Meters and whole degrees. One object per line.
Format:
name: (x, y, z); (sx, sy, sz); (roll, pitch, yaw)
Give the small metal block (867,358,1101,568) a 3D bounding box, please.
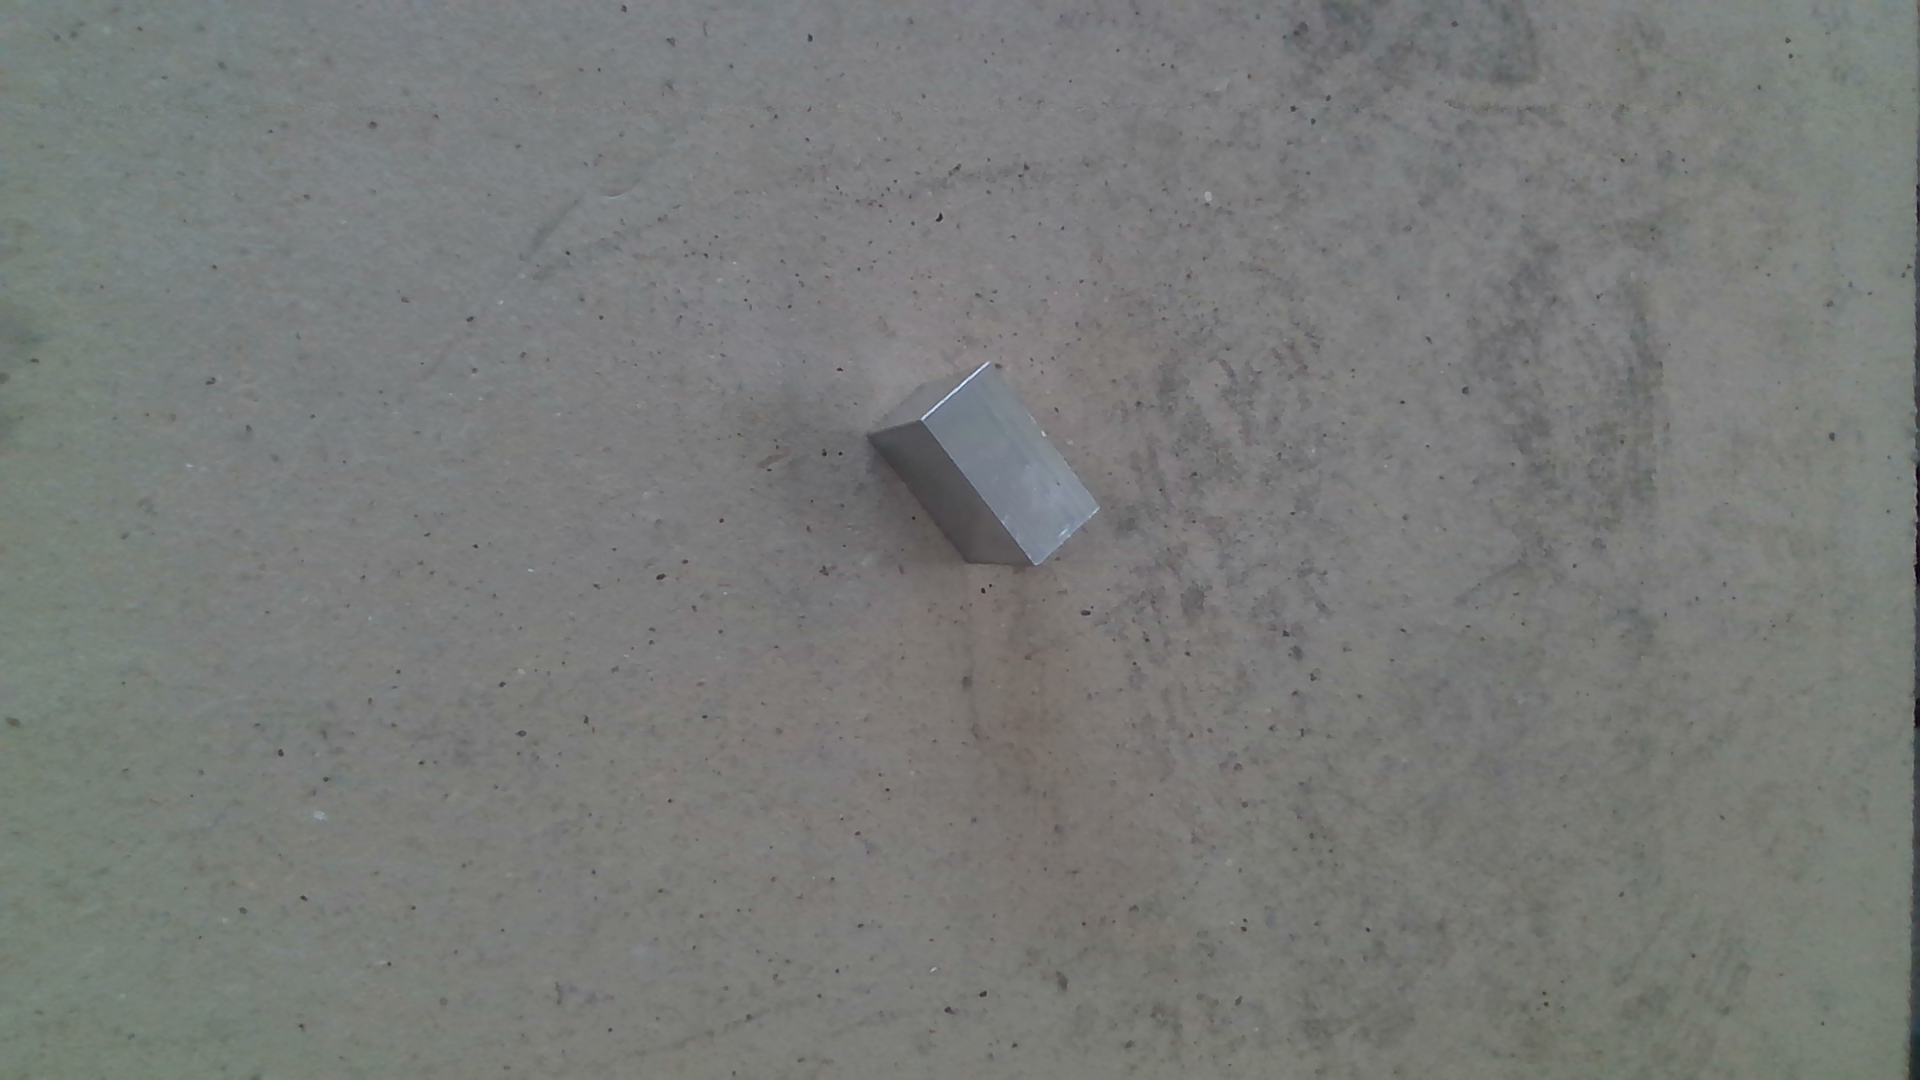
small metal block: (0.005, -0.020, 0.383); (0.025, 0.050, 0.050); (-42, 104, -15)
